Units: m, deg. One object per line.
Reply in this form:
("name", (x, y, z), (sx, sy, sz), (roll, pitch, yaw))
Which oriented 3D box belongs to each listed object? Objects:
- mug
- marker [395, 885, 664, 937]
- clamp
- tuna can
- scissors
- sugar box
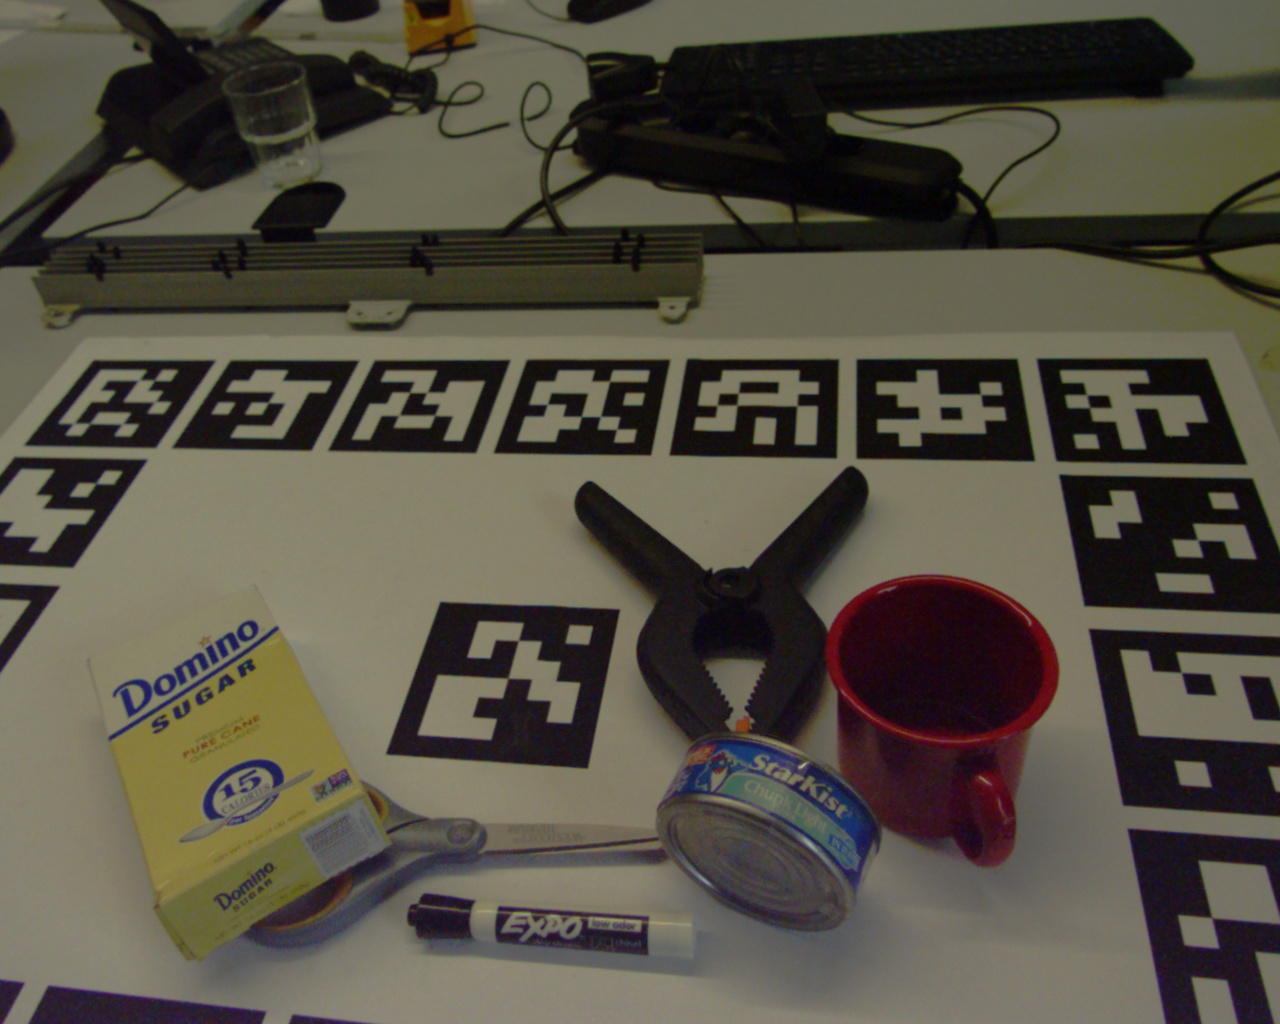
("mug", (0.118, 0.101, 0.524), (0.093, 0.081, 0.118), (-18, 41, -10))
("marker", (-0.050, 0.178, 0.510), (0.121, 0.019, 0.020), (-1, 45, 8))
("clamp", (0.042, 0.056, 0.624), (0.165, 0.036, 0.204), (-6, 45, 2))
("tuna can", (0.052, 0.133, 0.493), (0.086, 0.085, 0.033), (14, 48, 22))
("scissors", (-0.091, 0.146, 0.546), (0.203, 0.016, 0.088), (-5, 40, 1))
("sugar box", (-0.195, 0.116, 0.570), (0.092, 0.045, 0.179), (-25, 40, -17))
